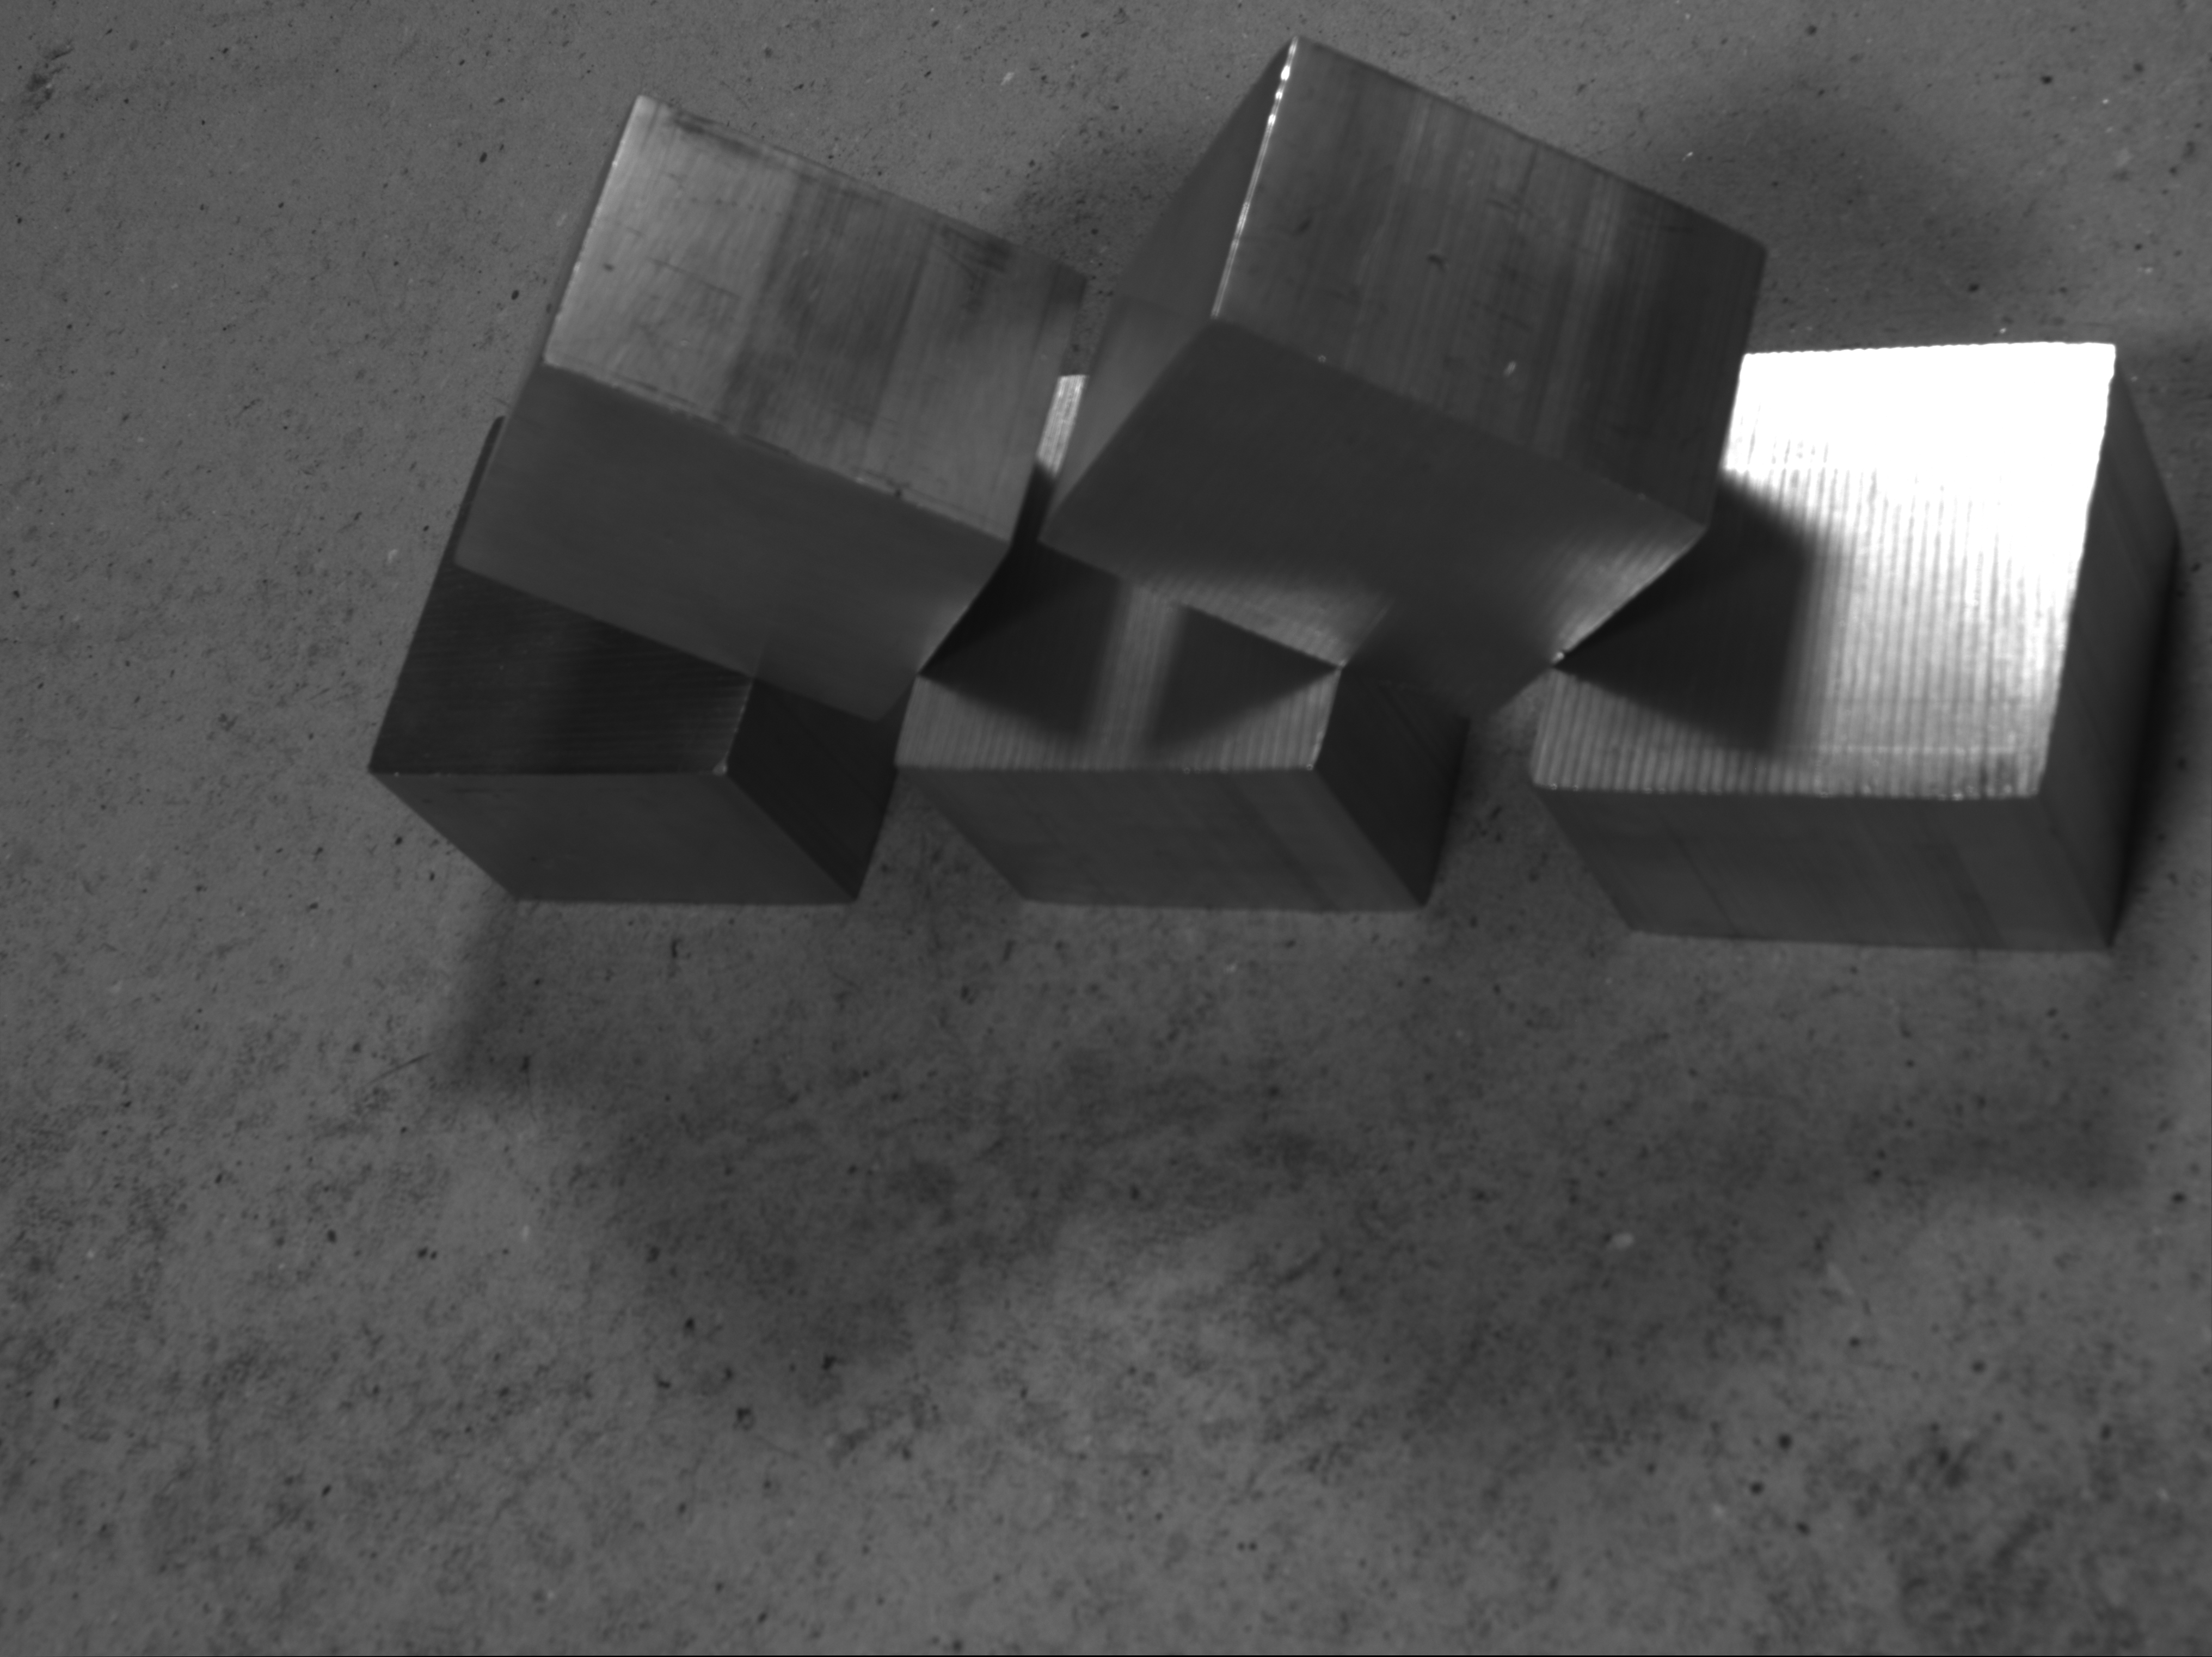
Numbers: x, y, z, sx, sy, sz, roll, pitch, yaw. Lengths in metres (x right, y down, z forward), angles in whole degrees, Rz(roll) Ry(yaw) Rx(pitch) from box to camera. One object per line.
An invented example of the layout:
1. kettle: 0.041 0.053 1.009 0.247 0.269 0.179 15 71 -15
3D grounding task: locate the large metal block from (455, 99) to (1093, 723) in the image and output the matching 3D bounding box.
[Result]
1. large metal block: -0.057 -0.067 0.617 0.080 0.080 0.050 20 65 -12

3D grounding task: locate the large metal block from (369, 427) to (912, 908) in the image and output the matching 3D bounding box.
1. large metal block: -0.081 -0.033 0.693 0.080 0.050 0.080 0 62 28

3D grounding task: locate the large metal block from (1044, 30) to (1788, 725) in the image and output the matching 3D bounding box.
1. large metal block: 0.046 -0.066 0.563 0.080 0.080 0.050 135 154 -62

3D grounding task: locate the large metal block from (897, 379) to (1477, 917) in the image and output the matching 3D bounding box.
1. large metal block: 0.020 -0.032 0.638 0.080 0.050 0.080 1 62 29

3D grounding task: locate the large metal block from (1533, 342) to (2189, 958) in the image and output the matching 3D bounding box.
1. large metal block: 0.121 -0.028 0.581 0.080 0.050 0.080 1 62 29
